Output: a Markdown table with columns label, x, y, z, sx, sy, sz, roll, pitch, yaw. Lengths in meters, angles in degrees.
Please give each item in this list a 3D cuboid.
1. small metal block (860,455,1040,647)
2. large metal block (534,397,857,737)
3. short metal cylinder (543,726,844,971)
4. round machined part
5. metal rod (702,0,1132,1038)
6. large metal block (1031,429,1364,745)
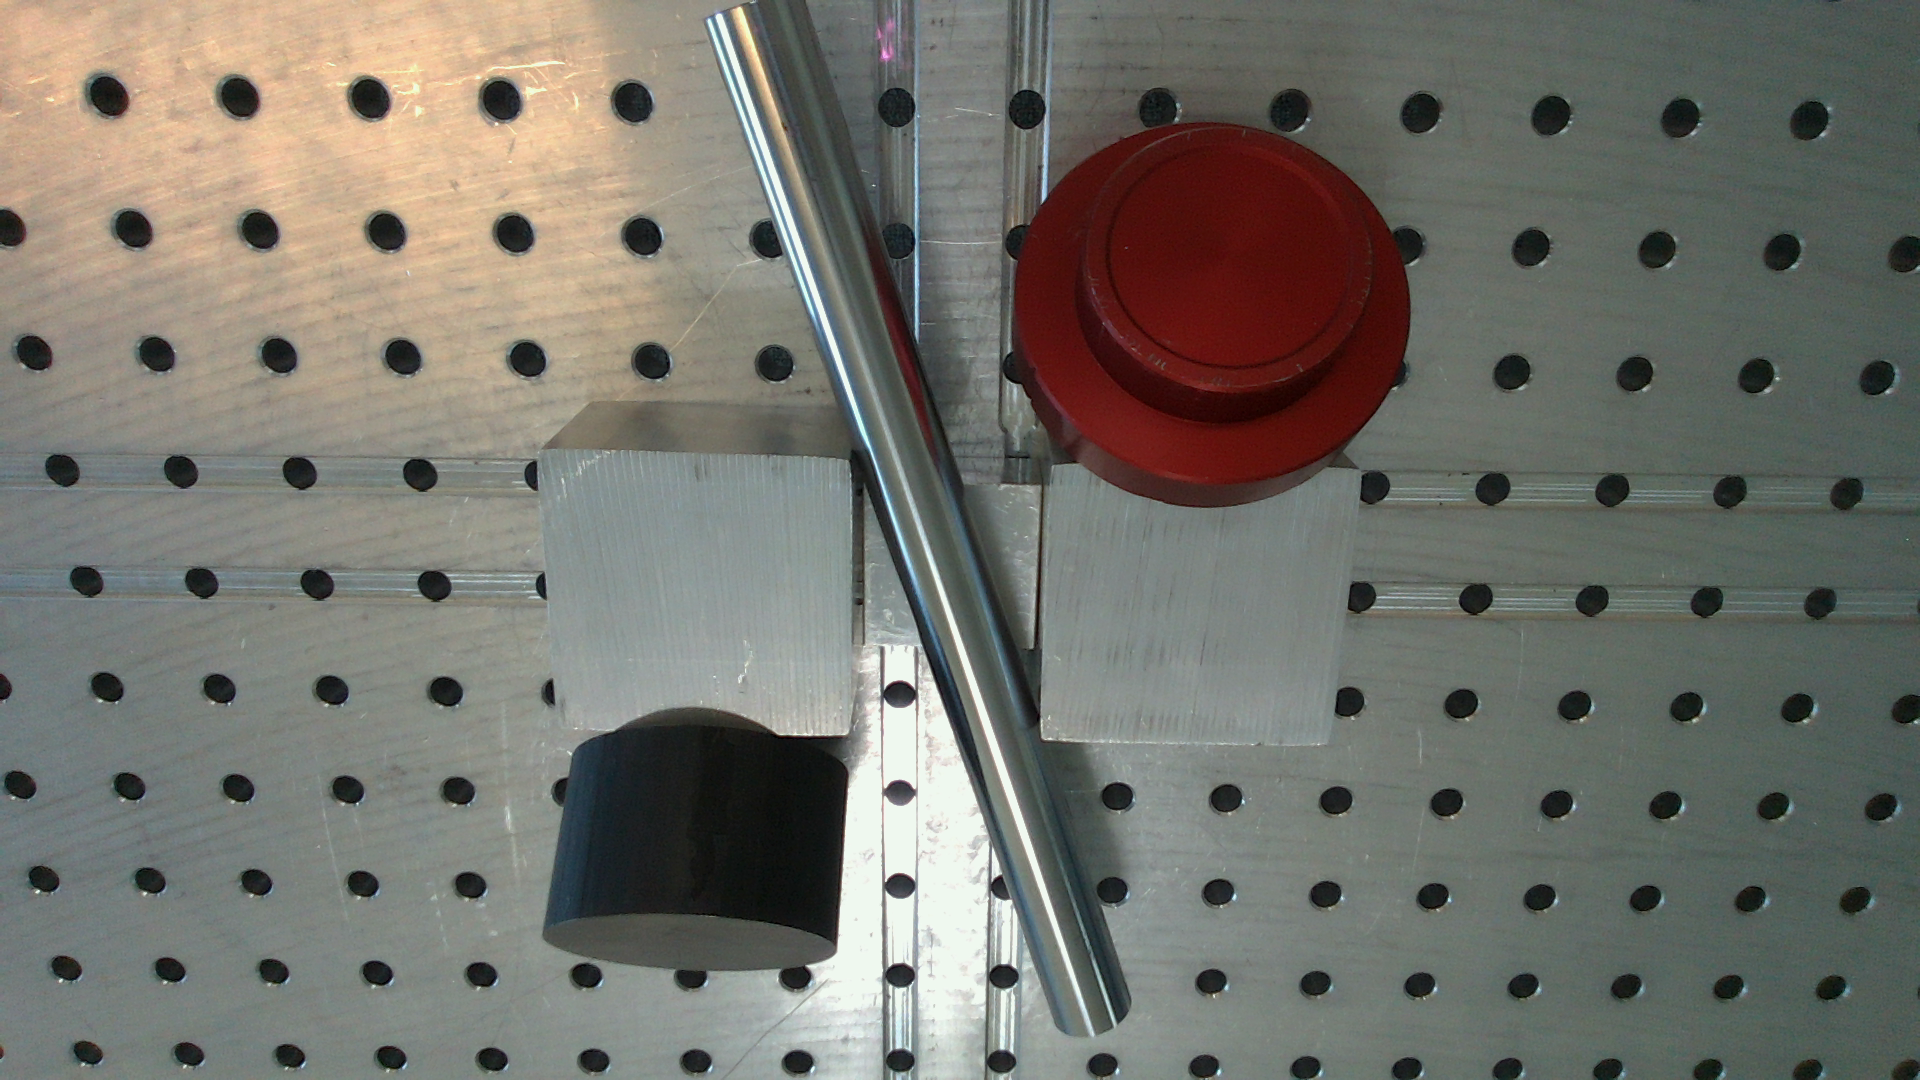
| label | x | y | z | sx | sy | sz | roll | pitch | yaw |
| --- | --- | --- | --- | --- | --- | --- | --- | --- | --- |
| small metal block | -0.003 | 0.003 | 0.398 | 0.050 | 0.025 | 0.050 | 1 | 110 | 0 |
| large metal block | -0.069 | 0.007 | 0.386 | 0.080 | 0.050 | 0.080 | 2 | 110 | -1 |
| short metal cylinder | -0.074 | 0.090 | 0.393 | 0.080 | 0.050 | 0.080 | 1 | 153 | 1 |
| round machined part | 0.063 | -0.060 | 0.339 | 0.098 | 0.042 | 0.098 | 0 | 75 | -1 |
| metal rod | -0.004 | 0.009 | 0.372 | 0.025 | 0.025 | 0.300 | -16 | 109 | 6 |
| large metal block | 0.063 | 0.010 | 0.388 | 0.080 | 0.050 | 0.080 | 1 | 110 | 0 |
